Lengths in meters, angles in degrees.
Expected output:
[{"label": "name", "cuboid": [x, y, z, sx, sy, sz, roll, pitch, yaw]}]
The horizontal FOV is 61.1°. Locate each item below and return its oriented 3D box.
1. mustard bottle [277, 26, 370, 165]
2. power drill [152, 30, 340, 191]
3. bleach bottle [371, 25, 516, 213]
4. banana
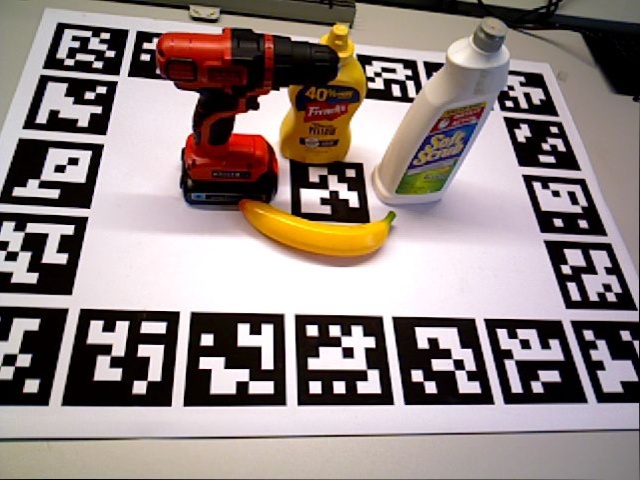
[{"label": "mustard bottle", "cuboid": [0.007, -0.173, 0.649, 0.095, 0.196, 0.057, 4, 57, -11]}, {"label": "power drill", "cuboid": [-0.084, -0.137, 0.585, 0.182, 0.192, 0.056, 1, 51, -14]}, {"label": "bleach bottle", "cuboid": [0.142, -0.130, 0.624, 0.101, 0.256, 0.067, -5, 60, -15]}, {"label": "banana", "cuboid": [0.008, -0.012, 0.640, 0.196, 0.039, 0.073, 4, 62, -7]}]
